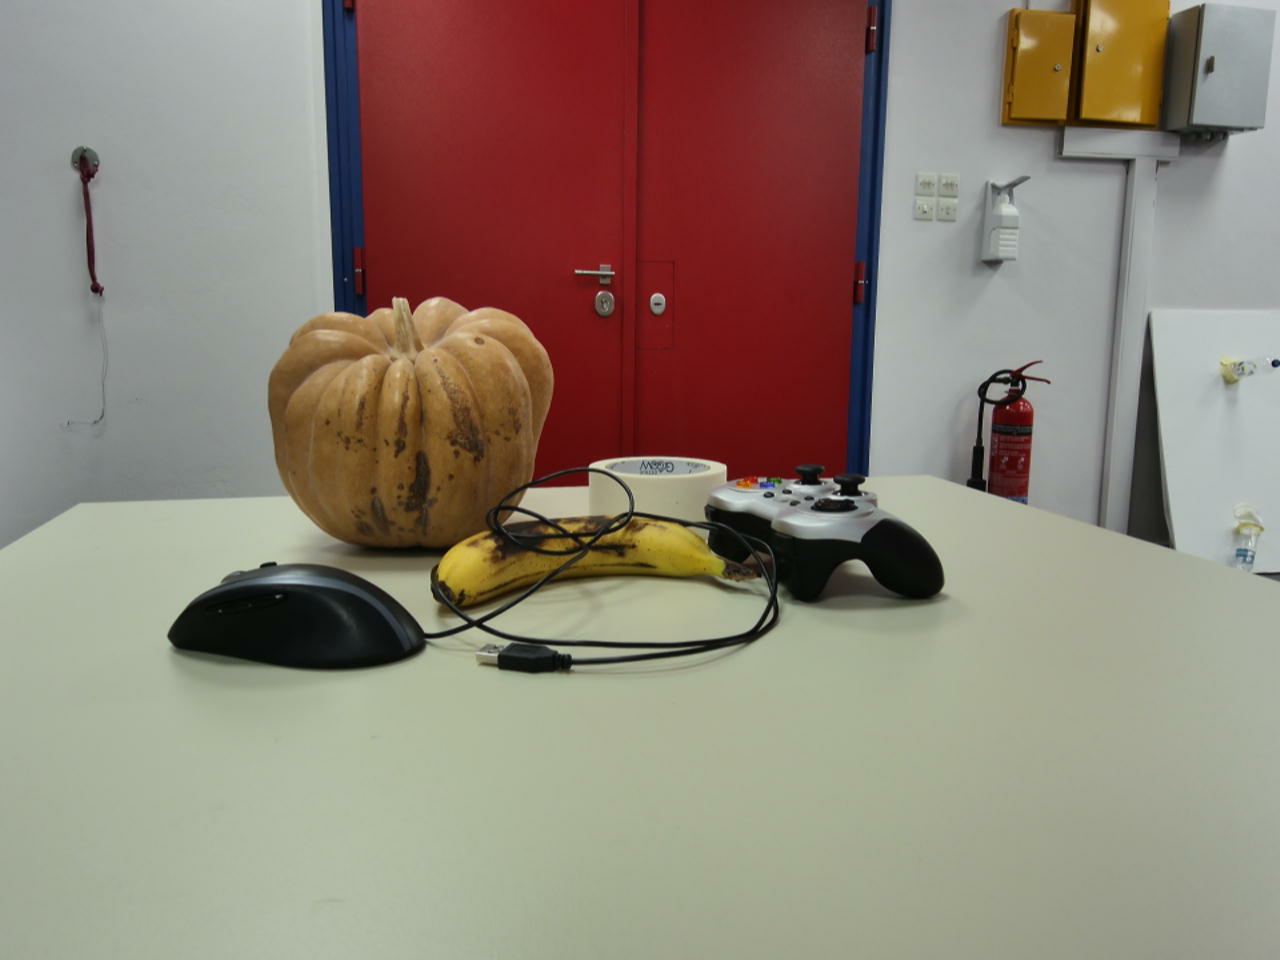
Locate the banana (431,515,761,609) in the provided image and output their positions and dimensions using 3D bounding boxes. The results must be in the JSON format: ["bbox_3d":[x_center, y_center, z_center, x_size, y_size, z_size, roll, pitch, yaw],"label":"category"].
[{"bbox_3d":[-0.032,0.046,0.601,0.187,0.039,0.094,-2,8,-15],"label":"banana"}]
